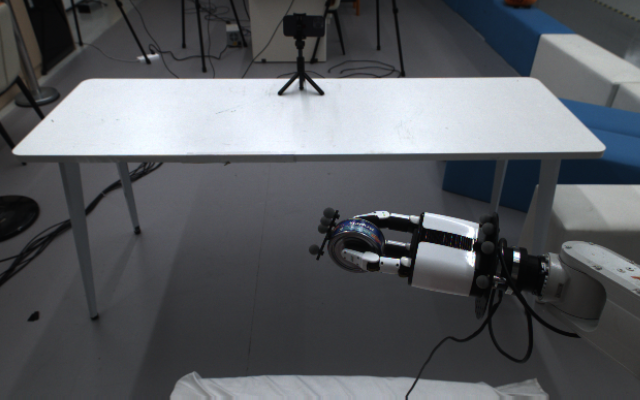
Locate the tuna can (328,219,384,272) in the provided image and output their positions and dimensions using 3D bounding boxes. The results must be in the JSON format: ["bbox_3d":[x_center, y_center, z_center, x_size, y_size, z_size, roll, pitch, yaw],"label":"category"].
[{"bbox_3d":[0.058,0.071,0.748,0.085,0.085,0.034,9,35,10],"label":"tuna can"}]
